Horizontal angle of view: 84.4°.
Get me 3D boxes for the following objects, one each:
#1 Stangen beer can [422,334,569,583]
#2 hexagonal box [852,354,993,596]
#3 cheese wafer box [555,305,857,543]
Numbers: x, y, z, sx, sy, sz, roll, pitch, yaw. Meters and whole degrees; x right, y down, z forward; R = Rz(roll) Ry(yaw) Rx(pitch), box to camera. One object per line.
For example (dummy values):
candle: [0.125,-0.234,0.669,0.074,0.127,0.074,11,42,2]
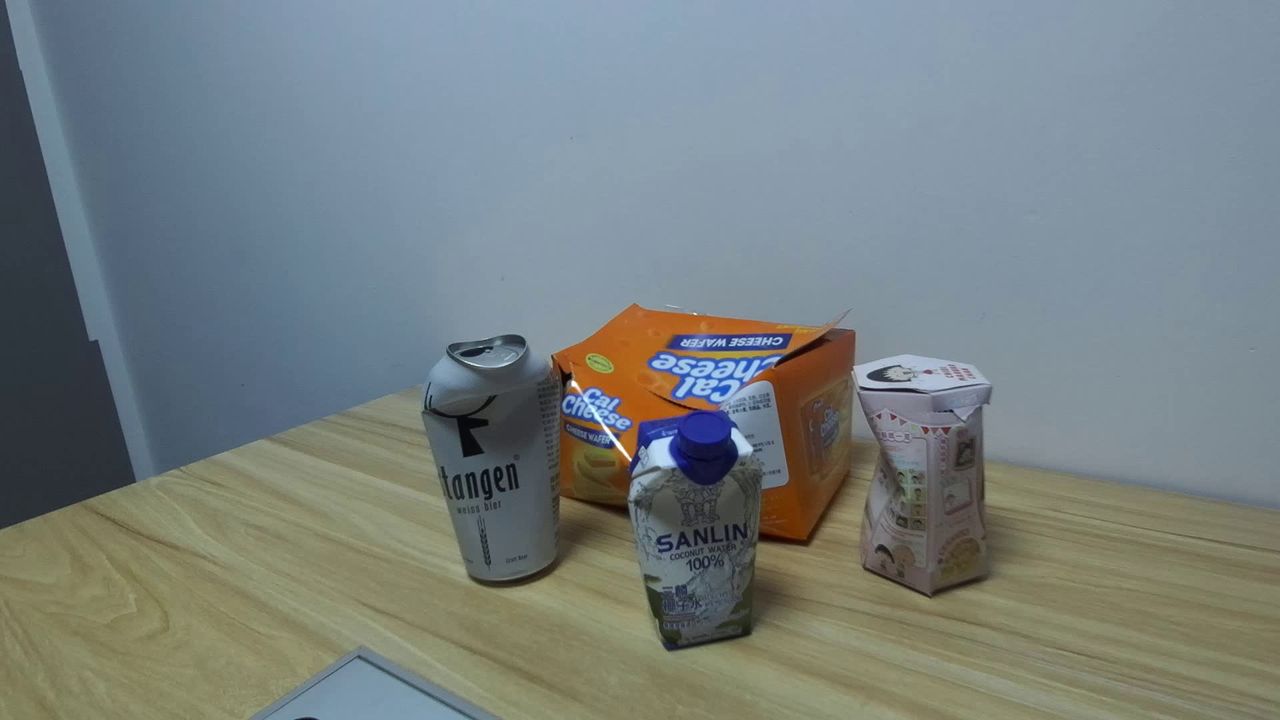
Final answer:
Stangen beer can: [-0.096,0.068,0.480,0.065,0.162,0.077,5,19,27]
hexagonal box: [0.181,0.073,0.464,0.091,0.134,0.089,-15,17,-34]
cheese wafer box: [0.048,0.040,0.581,0.218,0.145,0.192,6,18,28]
